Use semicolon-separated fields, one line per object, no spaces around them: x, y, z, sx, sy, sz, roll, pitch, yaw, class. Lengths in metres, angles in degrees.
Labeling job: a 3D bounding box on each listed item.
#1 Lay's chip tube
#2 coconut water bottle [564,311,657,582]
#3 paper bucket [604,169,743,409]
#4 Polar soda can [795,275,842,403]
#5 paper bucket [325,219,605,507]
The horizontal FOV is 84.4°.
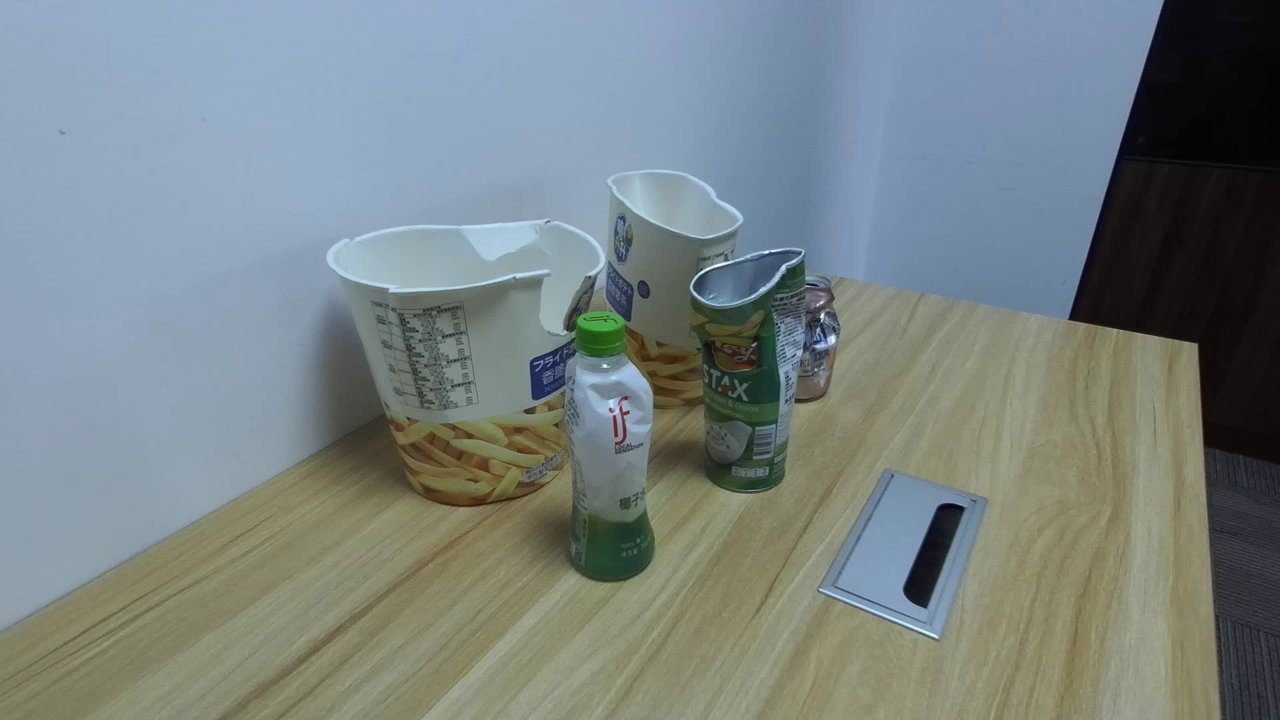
0.083;0.013;0.550;0.079;0.200;0.071;8;38;21;Lay's chip tube
-0.021;0.059;0.479;0.067;0.187;0.067;-1;27;1;coconut water bottle
0.031;-0.073;0.706;0.148;0.199;0.217;-23;35;-35;paper bucket
0.161;-0.026;0.704;0.071;0.122;0.066;-15;26;-26;Polar soda can
-0.133;-0.002;0.585;0.203;0.197;0.145;-7;31;-9;paper bucket
